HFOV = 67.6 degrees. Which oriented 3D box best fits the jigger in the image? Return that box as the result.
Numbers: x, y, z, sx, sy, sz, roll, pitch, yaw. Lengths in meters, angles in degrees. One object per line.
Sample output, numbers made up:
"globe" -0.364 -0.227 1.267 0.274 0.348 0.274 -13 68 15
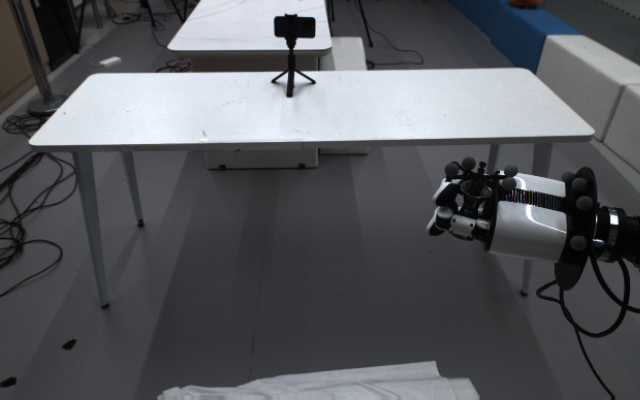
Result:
"jigger" 0.203 0.012 0.649 0.043 0.071 0.043 4 31 -2
